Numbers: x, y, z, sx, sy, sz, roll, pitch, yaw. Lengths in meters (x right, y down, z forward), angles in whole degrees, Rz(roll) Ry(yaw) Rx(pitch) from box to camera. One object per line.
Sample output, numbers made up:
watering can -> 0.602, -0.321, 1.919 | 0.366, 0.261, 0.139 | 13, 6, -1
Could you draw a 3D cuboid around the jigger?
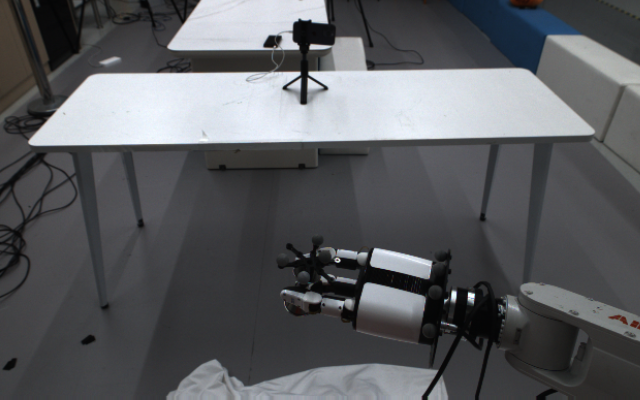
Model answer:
jigger -> -0.024, 0.125, 0.686 | 0.043, 0.071, 0.043 | 10, 36, -7
